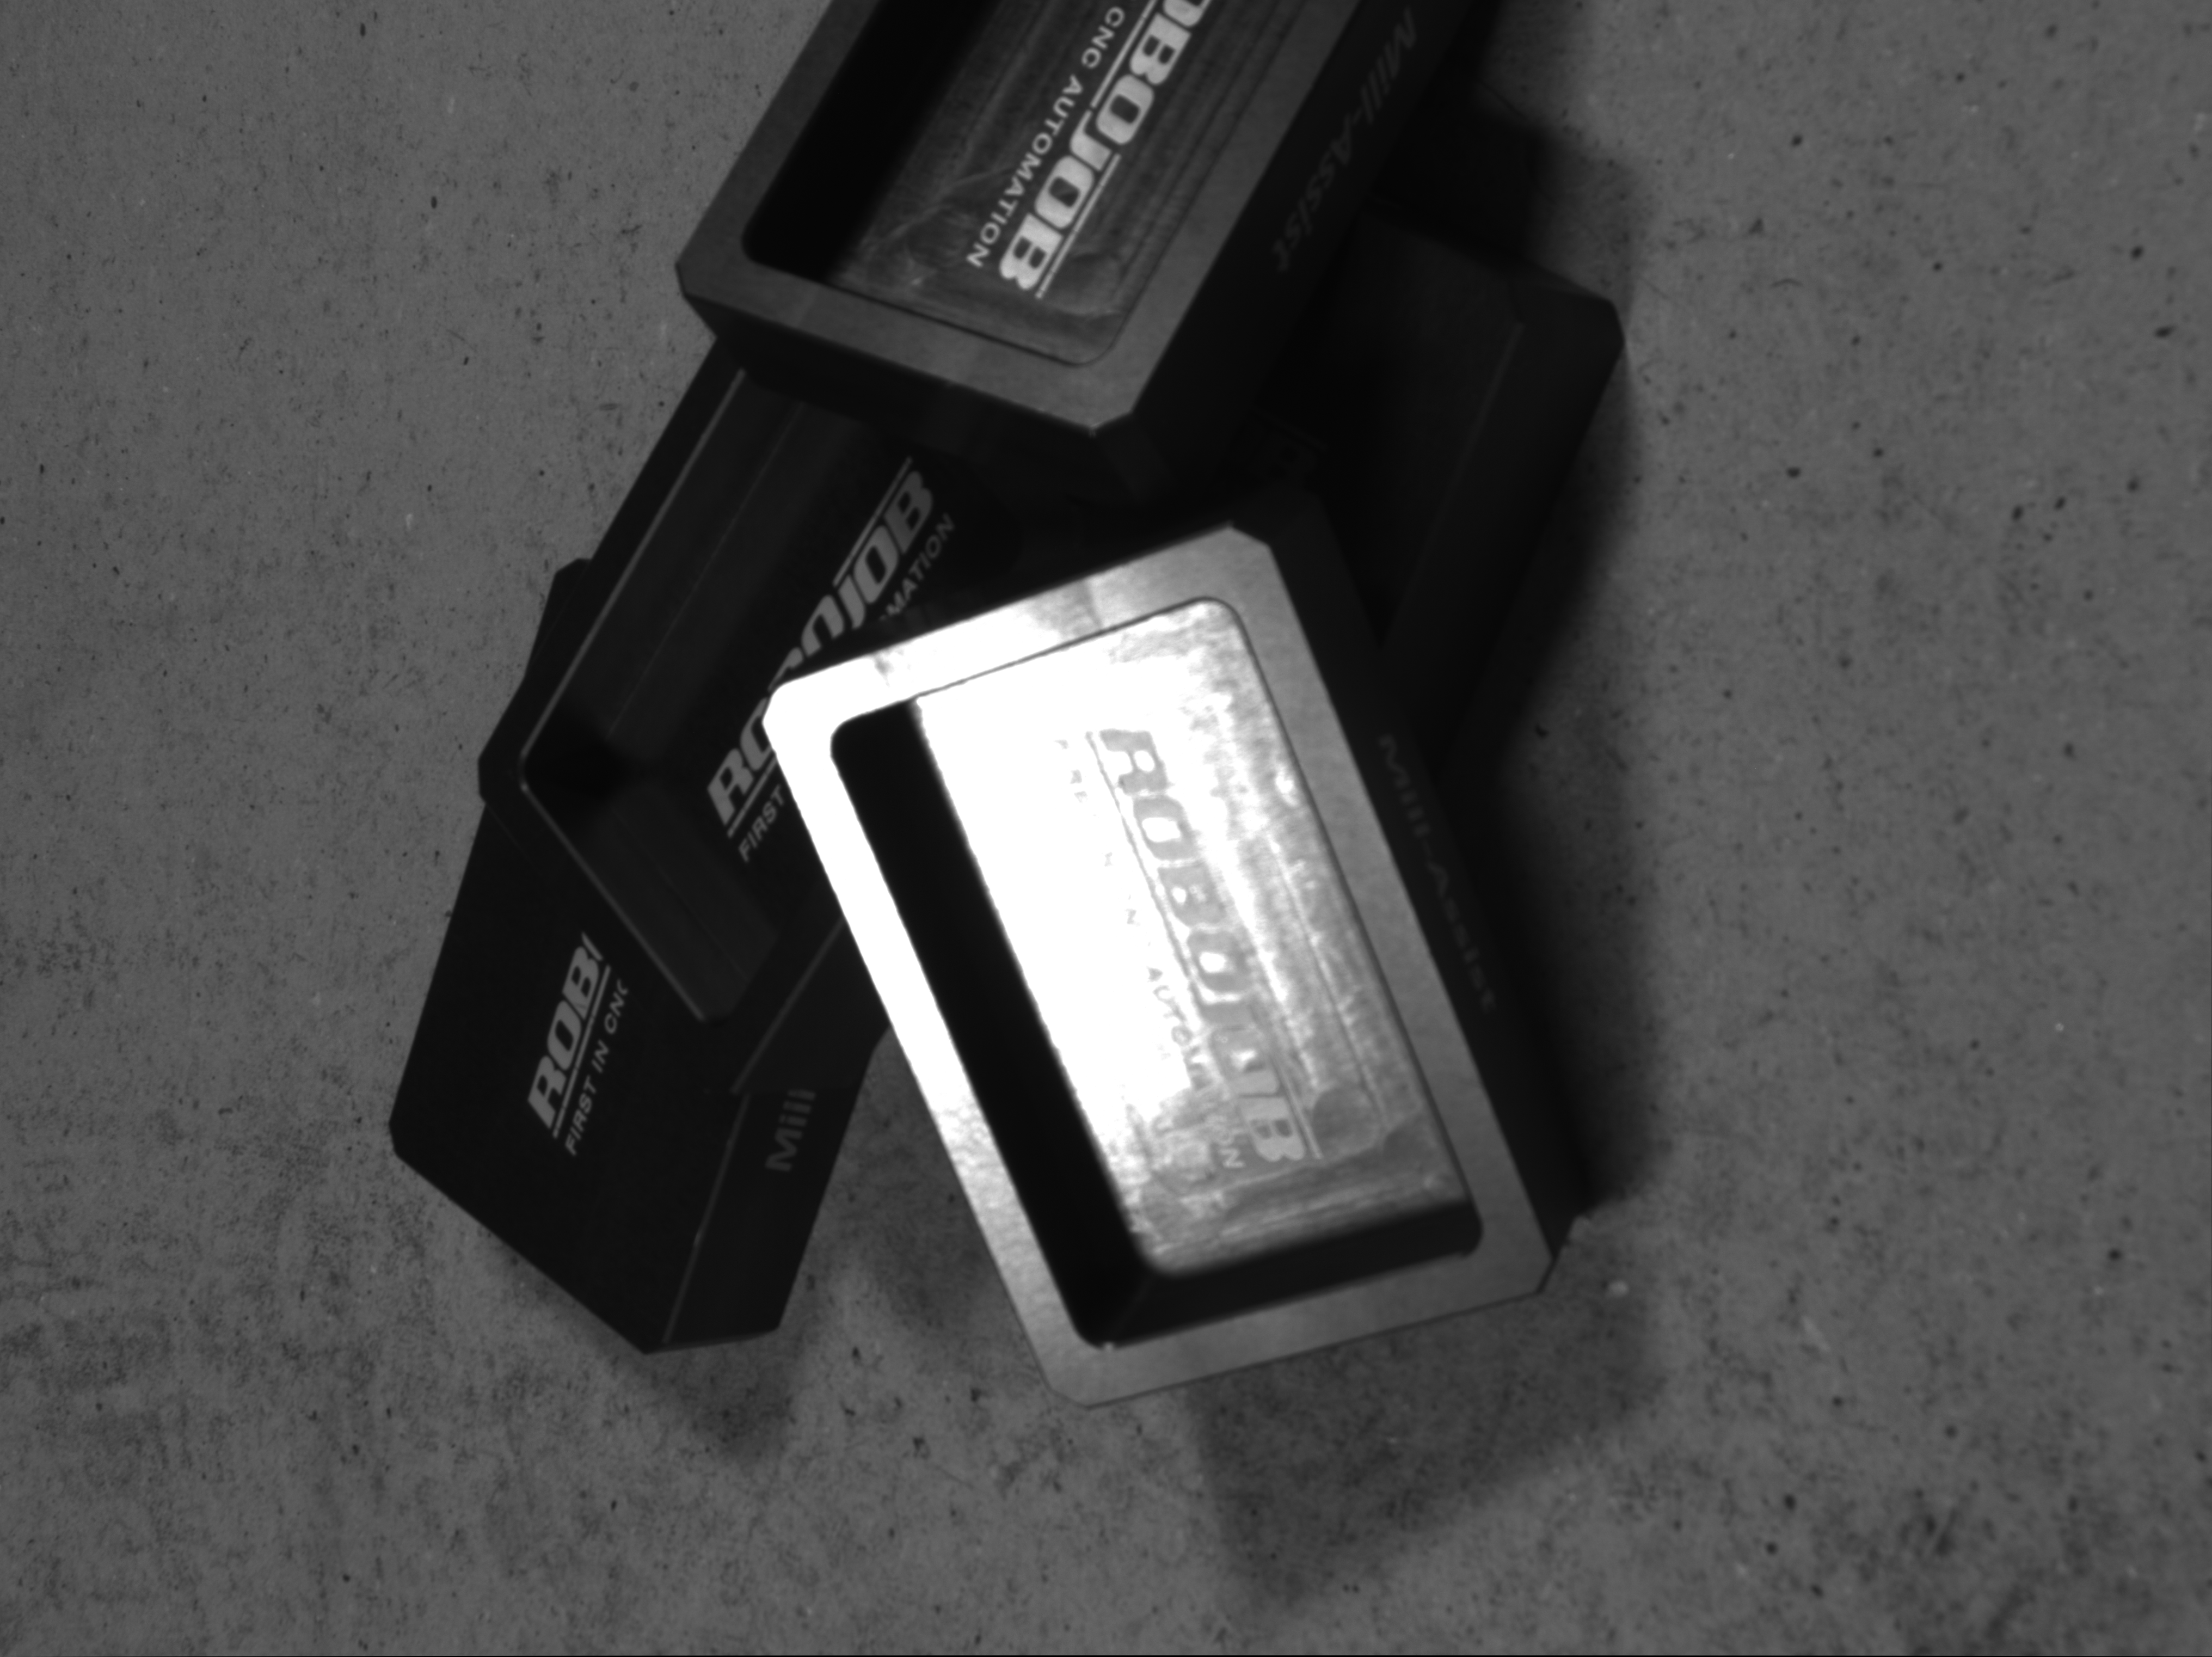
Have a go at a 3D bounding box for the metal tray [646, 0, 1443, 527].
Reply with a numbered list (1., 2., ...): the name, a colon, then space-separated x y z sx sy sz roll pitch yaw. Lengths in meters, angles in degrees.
1. metal tray: -0.005 -0.121 0.593 0.090 0.030 0.130 22 76 27

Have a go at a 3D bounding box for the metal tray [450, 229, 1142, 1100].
1. metal tray: -0.055 -0.028 0.640 0.090 0.030 0.130 49 118 29

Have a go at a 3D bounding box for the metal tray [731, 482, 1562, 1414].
1. metal tray: 0.007 0.021 0.583 0.090 0.030 0.130 -18 102 21

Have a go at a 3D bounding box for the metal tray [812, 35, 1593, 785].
1. metal tray: 0.011 -0.072 0.625 0.130 0.030 0.090 33 110 34

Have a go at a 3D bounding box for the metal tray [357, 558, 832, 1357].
1. metal tray: -0.091 0.024 0.707 0.090 0.030 0.130 30 109 35
